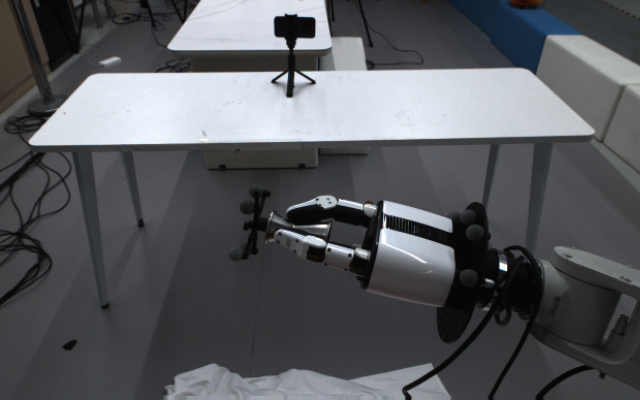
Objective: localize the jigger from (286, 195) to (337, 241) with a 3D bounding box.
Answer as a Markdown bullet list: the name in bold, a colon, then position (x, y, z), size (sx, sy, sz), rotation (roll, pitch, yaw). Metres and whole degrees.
- **jigger**: position (-0.017, 0.035, 0.547), size (0.071, 0.043, 0.043), rotation (12, 36, 5)
